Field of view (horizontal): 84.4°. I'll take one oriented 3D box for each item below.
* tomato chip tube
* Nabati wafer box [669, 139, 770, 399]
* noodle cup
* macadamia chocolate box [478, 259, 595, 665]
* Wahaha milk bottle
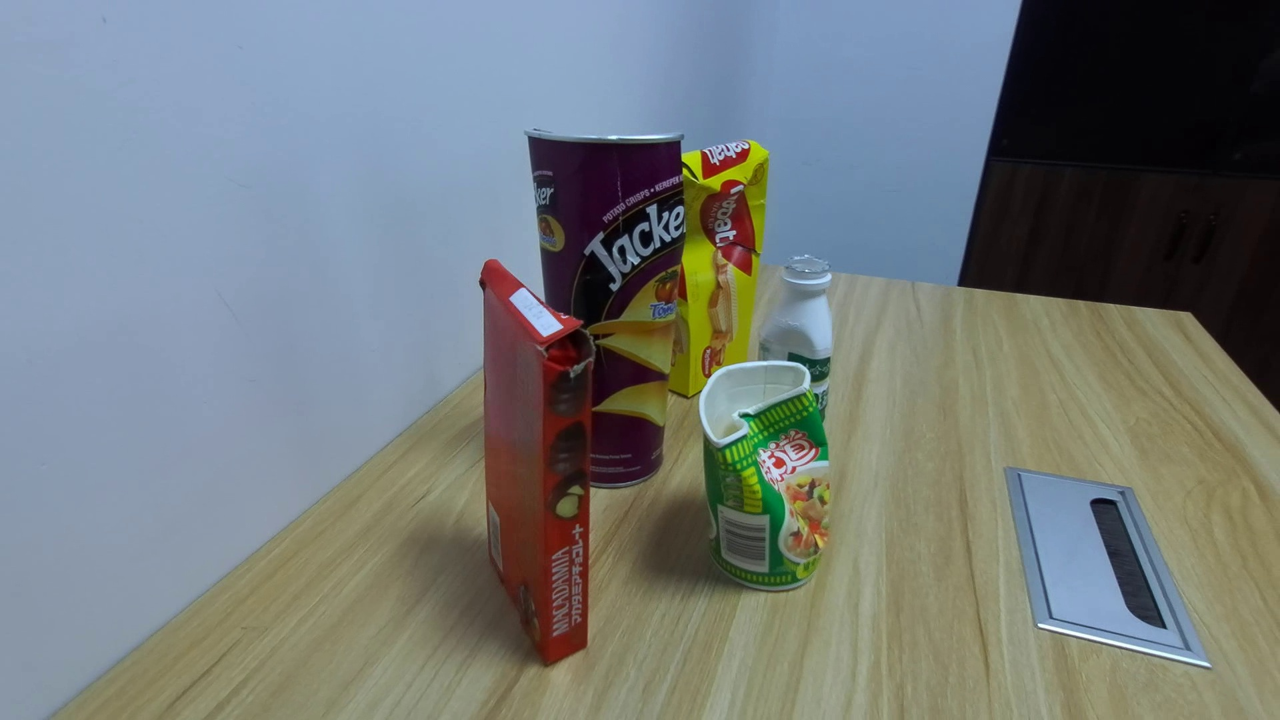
[{"bbox_3d":[-0.020,-0.032,0.478,0.076,0.235,0.077,-19,31,-34],"label":"tomato chip tube"},{"bbox_3d":[0.056,-0.075,0.593,0.042,0.204,0.107,23,34,34],"label":"Nabati wafer box"},{"bbox_3d":[0.076,0.068,0.412,0.083,0.122,0.075,-17,23,-12],"label":"noodle cup"},{"bbox_3d":[-0.057,0.052,0.366,0.027,0.187,0.102,-10,27,-28],"label":"macadamia chocolate box"},{"bbox_3d":[0.112,0.000,0.504,0.055,0.149,0.055,-1,34,1],"label":"Wahaha milk bottle"}]
